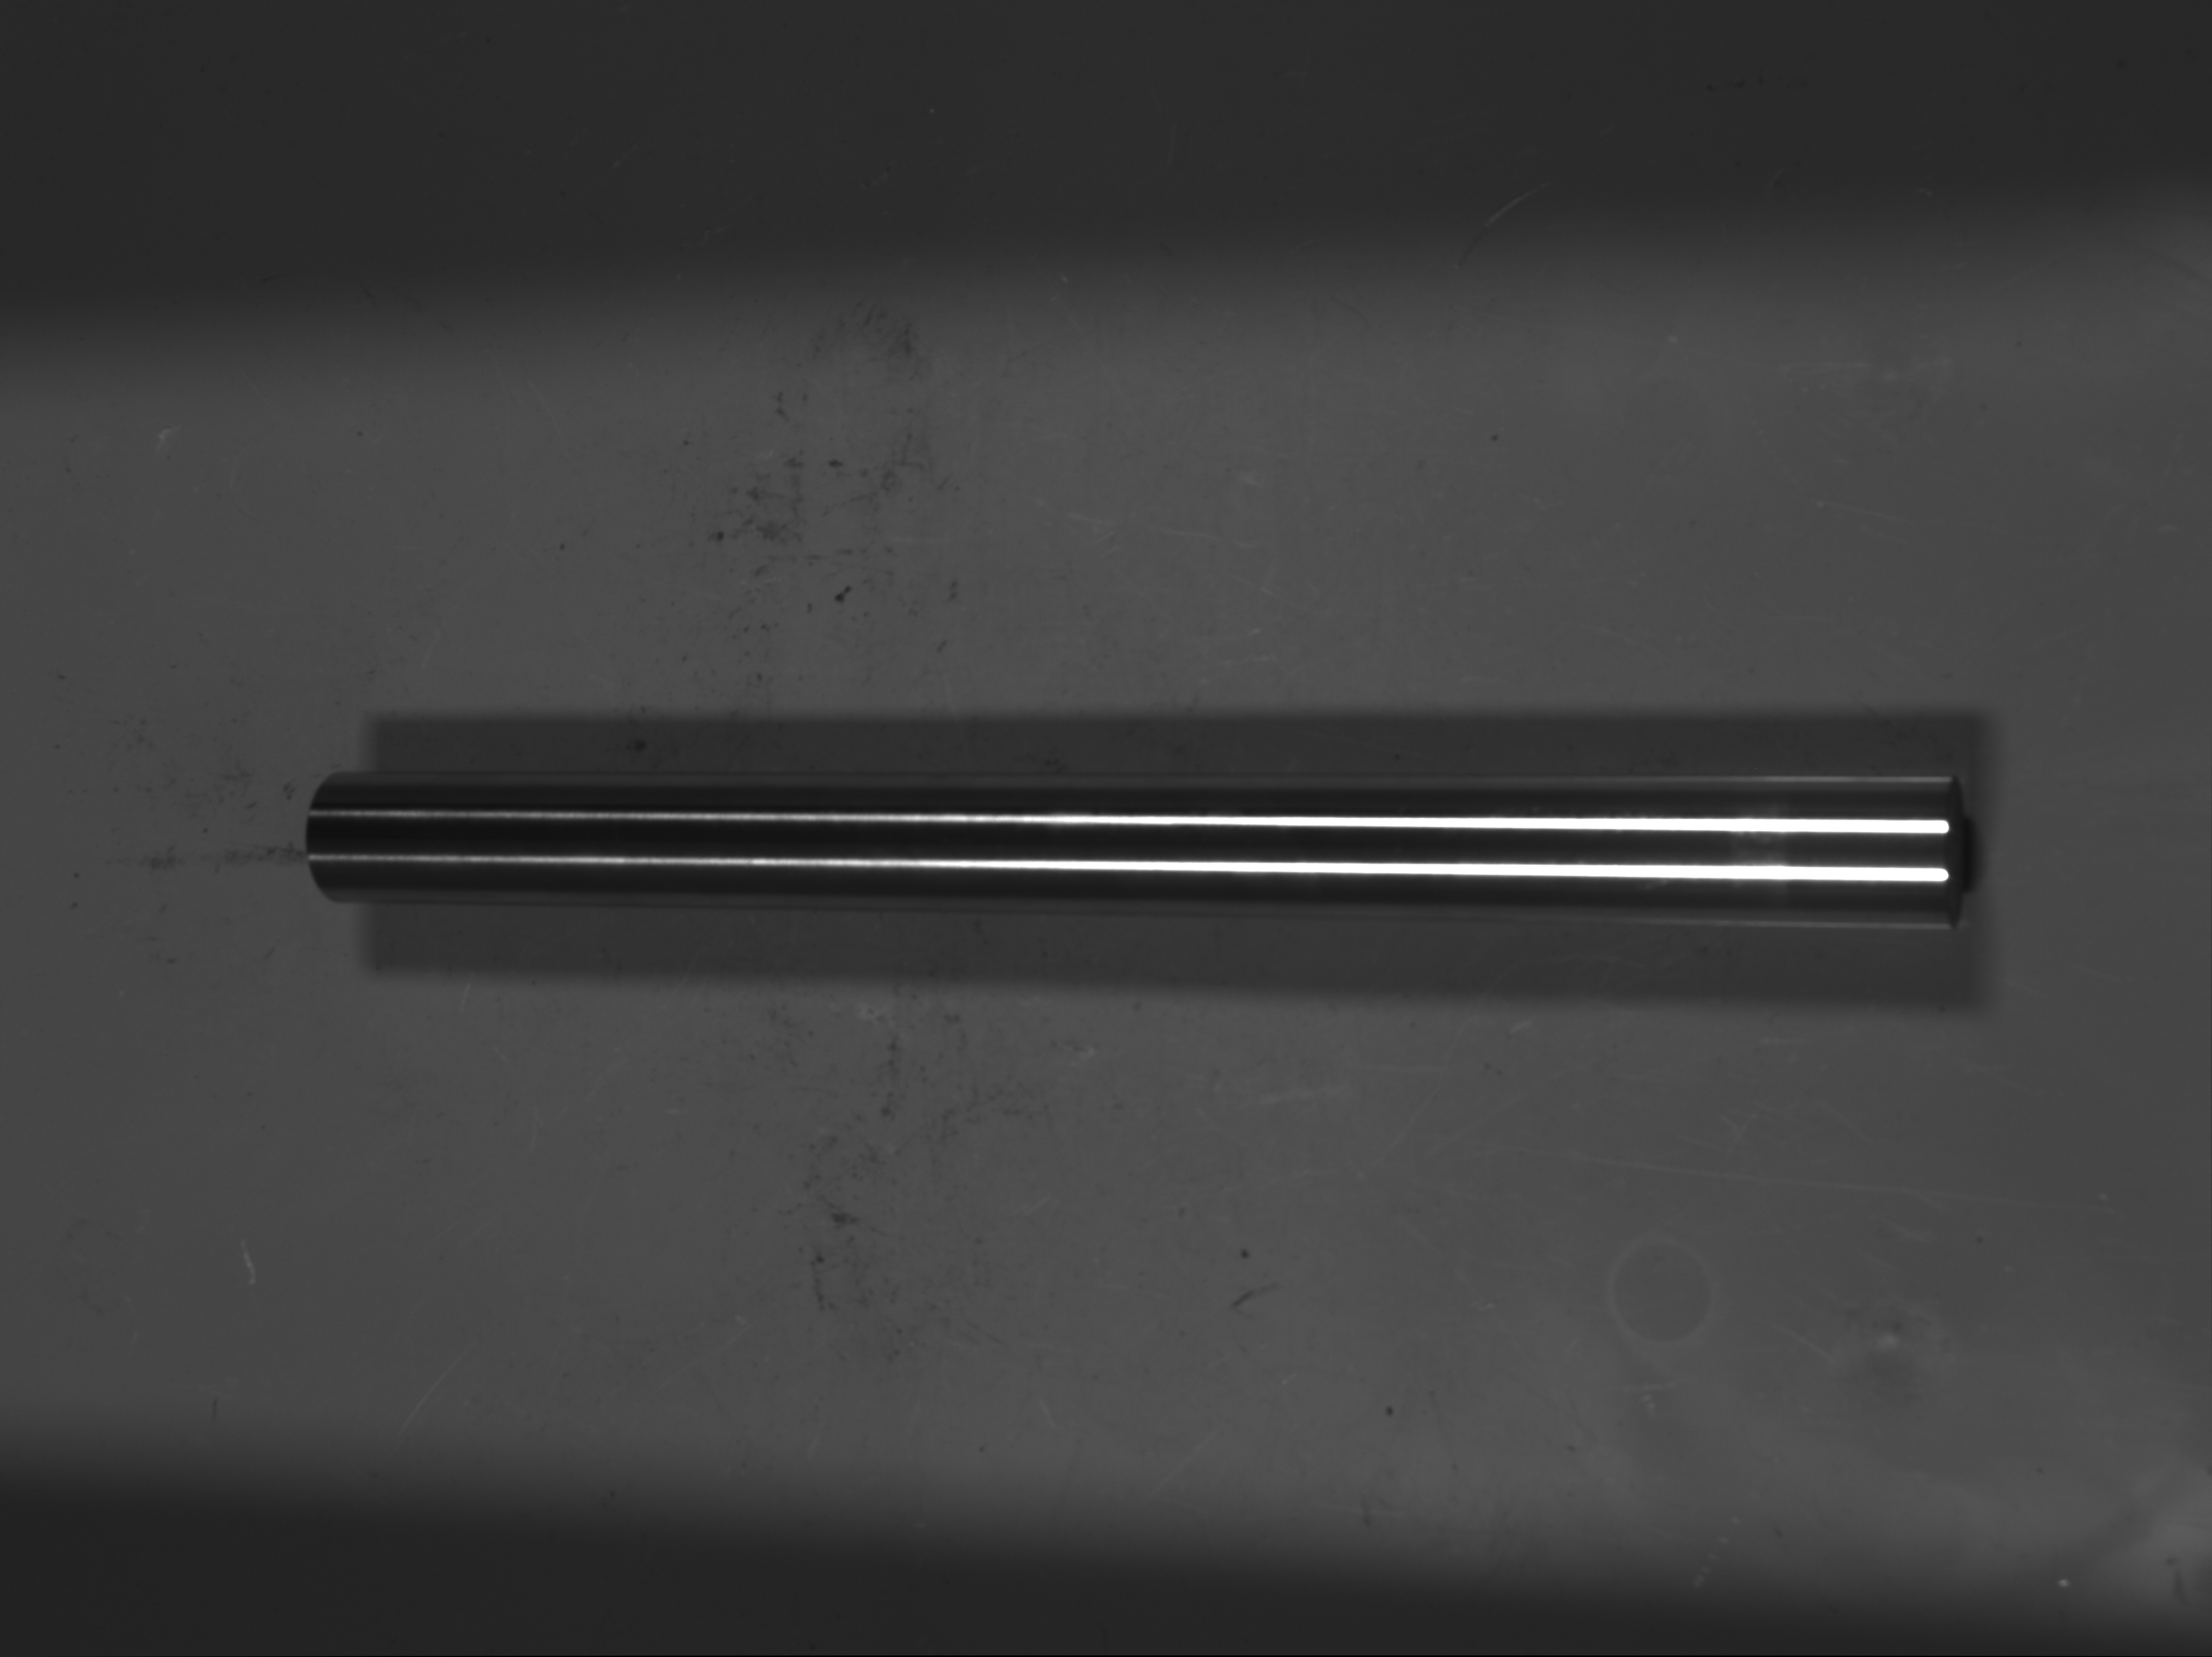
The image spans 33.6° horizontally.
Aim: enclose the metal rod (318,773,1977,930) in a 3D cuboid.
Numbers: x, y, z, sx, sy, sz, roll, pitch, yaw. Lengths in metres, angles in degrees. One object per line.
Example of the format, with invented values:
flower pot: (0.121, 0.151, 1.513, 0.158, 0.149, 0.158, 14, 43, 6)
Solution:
metal rod: (-0.001, 0.003, 0.643, 0.299, 0.025, 0.025, 0, 90, 20)
